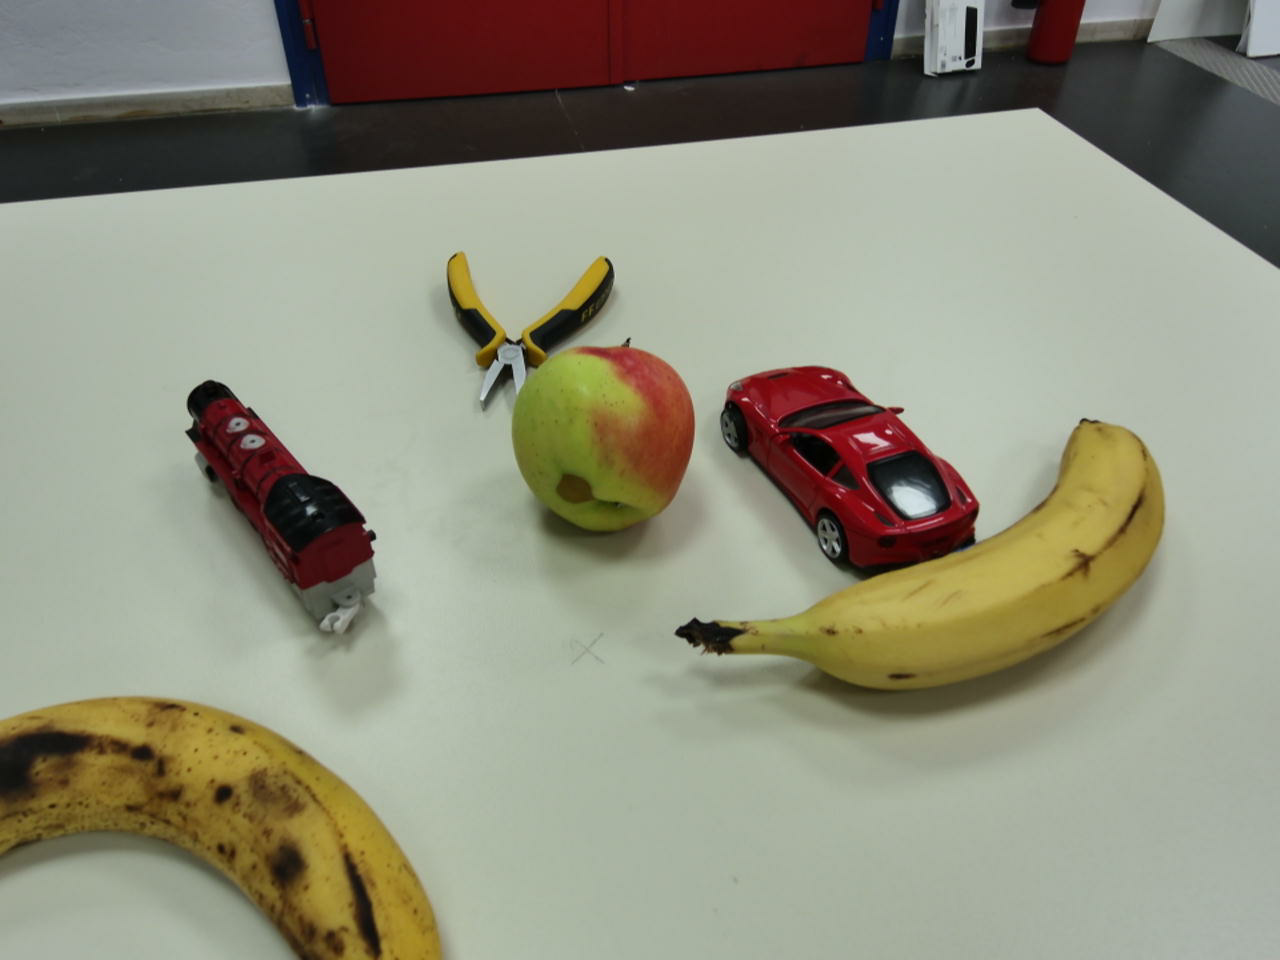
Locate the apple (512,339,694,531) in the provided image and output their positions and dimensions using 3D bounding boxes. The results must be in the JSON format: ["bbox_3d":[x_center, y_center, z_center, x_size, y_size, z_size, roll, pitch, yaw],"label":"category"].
[{"bbox_3d":[-0.014,-0.018,0.404,0.075,0.074,0.075,-21,43,-26],"label":"apple"}]
